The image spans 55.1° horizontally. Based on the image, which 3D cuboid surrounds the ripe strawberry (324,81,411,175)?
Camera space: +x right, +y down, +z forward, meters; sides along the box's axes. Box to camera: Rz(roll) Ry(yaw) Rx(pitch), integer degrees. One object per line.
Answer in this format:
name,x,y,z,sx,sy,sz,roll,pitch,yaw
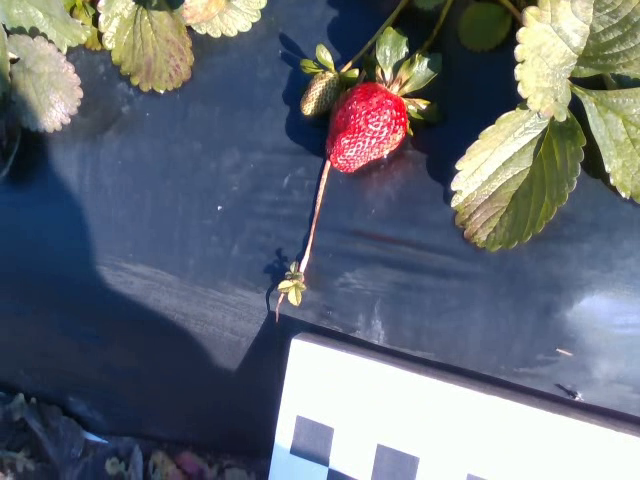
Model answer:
ripe strawberry,0.020,-0.052,0.288,0.041,0.053,0.043,24,-30,13
